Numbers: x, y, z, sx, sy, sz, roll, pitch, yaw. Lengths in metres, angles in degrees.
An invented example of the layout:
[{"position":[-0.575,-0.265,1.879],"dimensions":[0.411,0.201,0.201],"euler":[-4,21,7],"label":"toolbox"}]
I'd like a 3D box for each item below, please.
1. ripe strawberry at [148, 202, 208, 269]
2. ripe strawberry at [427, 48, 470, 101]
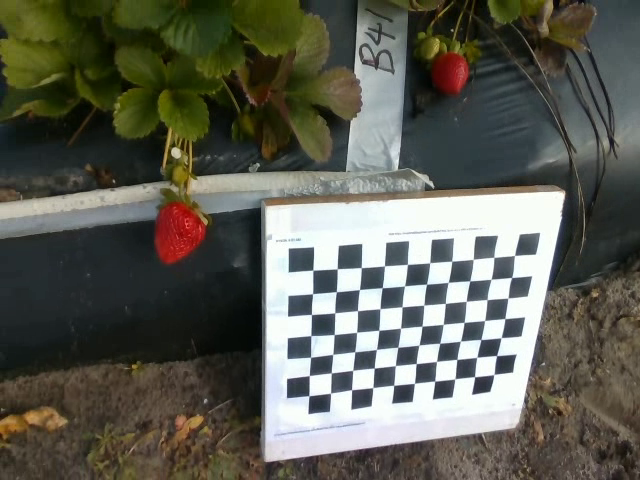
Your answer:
[{"position":[-0.110,-0.006,0.439],"dimensions":[0.047,0.053,0.030],"euler":[36,-16,-25],"label":"ripe strawberry"},{"position":[0.114,-0.138,0.493],"dimensions":[0.037,0.048,0.031],"euler":[10,-35,-18],"label":"ripe strawberry"}]
